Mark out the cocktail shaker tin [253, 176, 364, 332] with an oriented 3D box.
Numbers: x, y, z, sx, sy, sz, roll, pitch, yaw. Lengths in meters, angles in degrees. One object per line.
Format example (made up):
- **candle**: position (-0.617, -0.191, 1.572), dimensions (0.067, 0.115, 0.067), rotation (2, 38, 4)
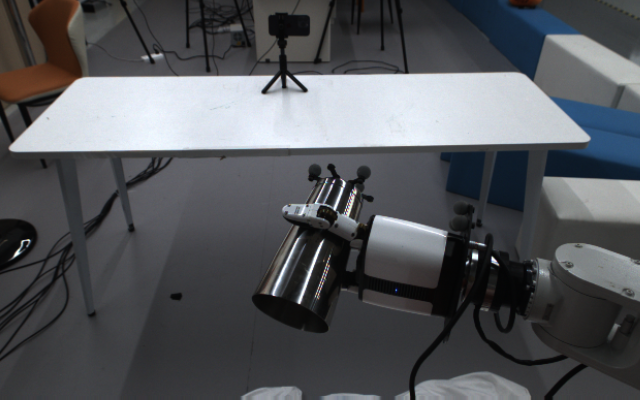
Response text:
- **cocktail shaker tin**: position (-0.005, 0.058, 0.573), dimensions (0.093, 0.093, 0.170), rotation (14, 58, 16)
